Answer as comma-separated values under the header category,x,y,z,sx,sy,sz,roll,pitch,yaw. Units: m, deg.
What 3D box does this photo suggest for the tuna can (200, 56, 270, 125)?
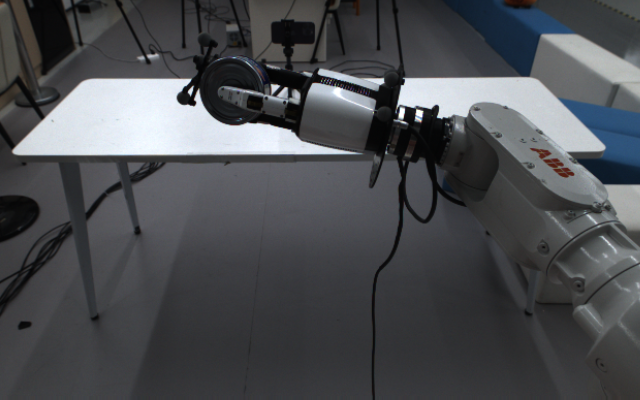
category,x,y,z,sx,sy,sz,roll,pitch,yaw
tuna can,-0.106,-0.140,0.614,0.085,0.085,0.034,6,20,5
